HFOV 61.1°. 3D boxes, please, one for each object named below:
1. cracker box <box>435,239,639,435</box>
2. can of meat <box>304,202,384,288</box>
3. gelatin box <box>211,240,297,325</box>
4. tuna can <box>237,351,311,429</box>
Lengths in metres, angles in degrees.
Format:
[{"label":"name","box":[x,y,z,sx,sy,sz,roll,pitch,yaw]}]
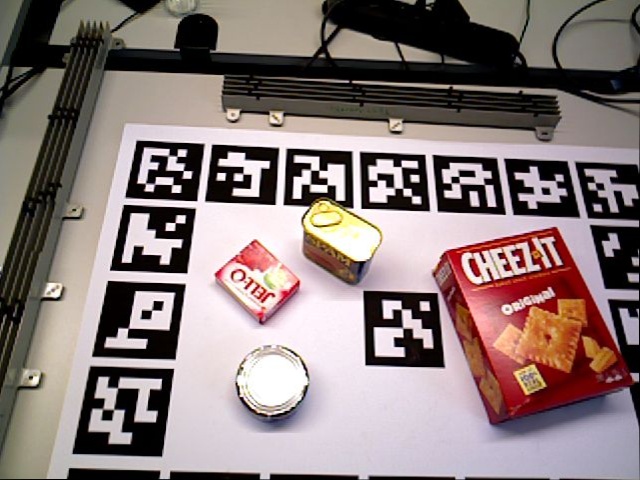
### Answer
[{"label":"cracker box","box":[0.266,0.115,0.686,0.162,0.073,0.212,-12,62,-12]},{"label":"can of meat","box":[0.027,0.010,0.721,0.102,0.085,0.057,29,62,12]},{"label":"gelatin box","box":[-0.086,0.054,0.711,0.089,0.031,0.072,41,63,14]},{"label":"tuna can","box":[-0.054,0.178,0.642,0.085,0.034,0.085,1,65,-3]}]
